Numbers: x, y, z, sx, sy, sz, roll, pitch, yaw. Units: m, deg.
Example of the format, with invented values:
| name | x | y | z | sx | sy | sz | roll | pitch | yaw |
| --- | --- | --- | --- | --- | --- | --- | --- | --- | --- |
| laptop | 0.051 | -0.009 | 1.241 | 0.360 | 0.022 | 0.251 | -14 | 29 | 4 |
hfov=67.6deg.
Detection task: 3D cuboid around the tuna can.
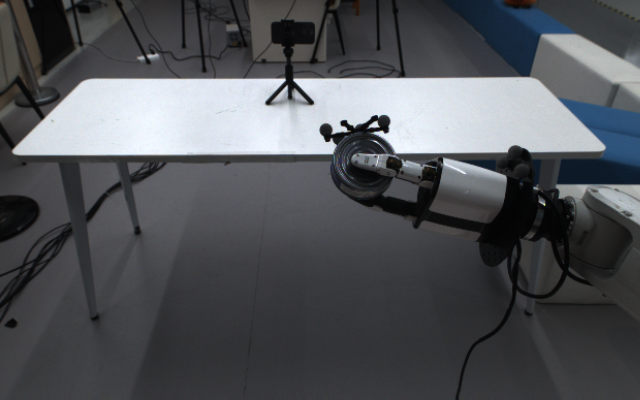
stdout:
| name | x | y | z | sx | sy | sz | roll | pitch | yaw |
| --- | --- | --- | --- | --- | --- | --- | --- | --- | --- |
| tuna can | 0.062 | -0.040 | 0.634 | 0.085 | 0.034 | 0.085 | 0 | 72 | -1 |
